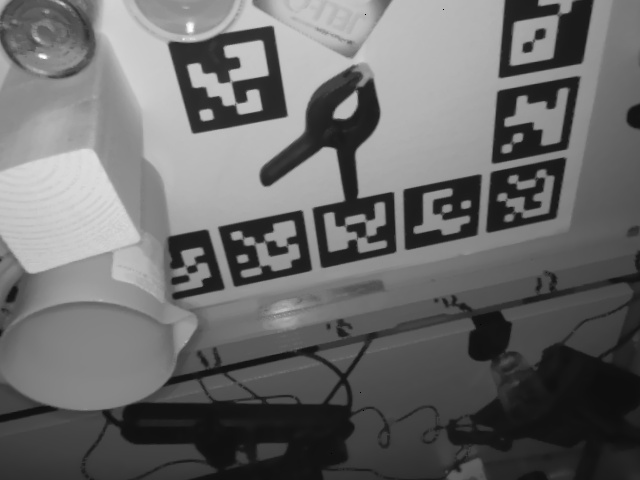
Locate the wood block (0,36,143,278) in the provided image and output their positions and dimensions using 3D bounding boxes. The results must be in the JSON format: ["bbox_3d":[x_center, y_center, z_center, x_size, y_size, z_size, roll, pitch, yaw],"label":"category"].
[{"bbox_3d":[-0.212,-0.078,0.579,0.090,0.207,0.090,-11,131,0],"label":"wood block"}]

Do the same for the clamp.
[{"bbox_3d":[0.007,-0.108,0.738,0.123,0.037,0.163,16,122,-17],"label":"clamp"}]

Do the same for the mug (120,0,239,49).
[{"bbox_3d":[-0.127,-0.222,0.569,0.118,0.082,0.092,18,124,-28],"label":"mug"}]

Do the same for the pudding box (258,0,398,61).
[{"bbox_3d":[0.012,-0.230,0.633,0.115,0.039,0.089,20,118,-29],"label":"pudding box"}]

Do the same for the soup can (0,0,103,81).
[{"bbox_3d":[-0.214,-0.181,0.563,0.068,0.102,0.067,-7,128,-9],"label":"soup can"}]

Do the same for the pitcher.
[{"bbox_3d":[-0.220,0.028,0.643,0.190,0.243,0.132,-14,133,-7],"label":"pitcher"}]
